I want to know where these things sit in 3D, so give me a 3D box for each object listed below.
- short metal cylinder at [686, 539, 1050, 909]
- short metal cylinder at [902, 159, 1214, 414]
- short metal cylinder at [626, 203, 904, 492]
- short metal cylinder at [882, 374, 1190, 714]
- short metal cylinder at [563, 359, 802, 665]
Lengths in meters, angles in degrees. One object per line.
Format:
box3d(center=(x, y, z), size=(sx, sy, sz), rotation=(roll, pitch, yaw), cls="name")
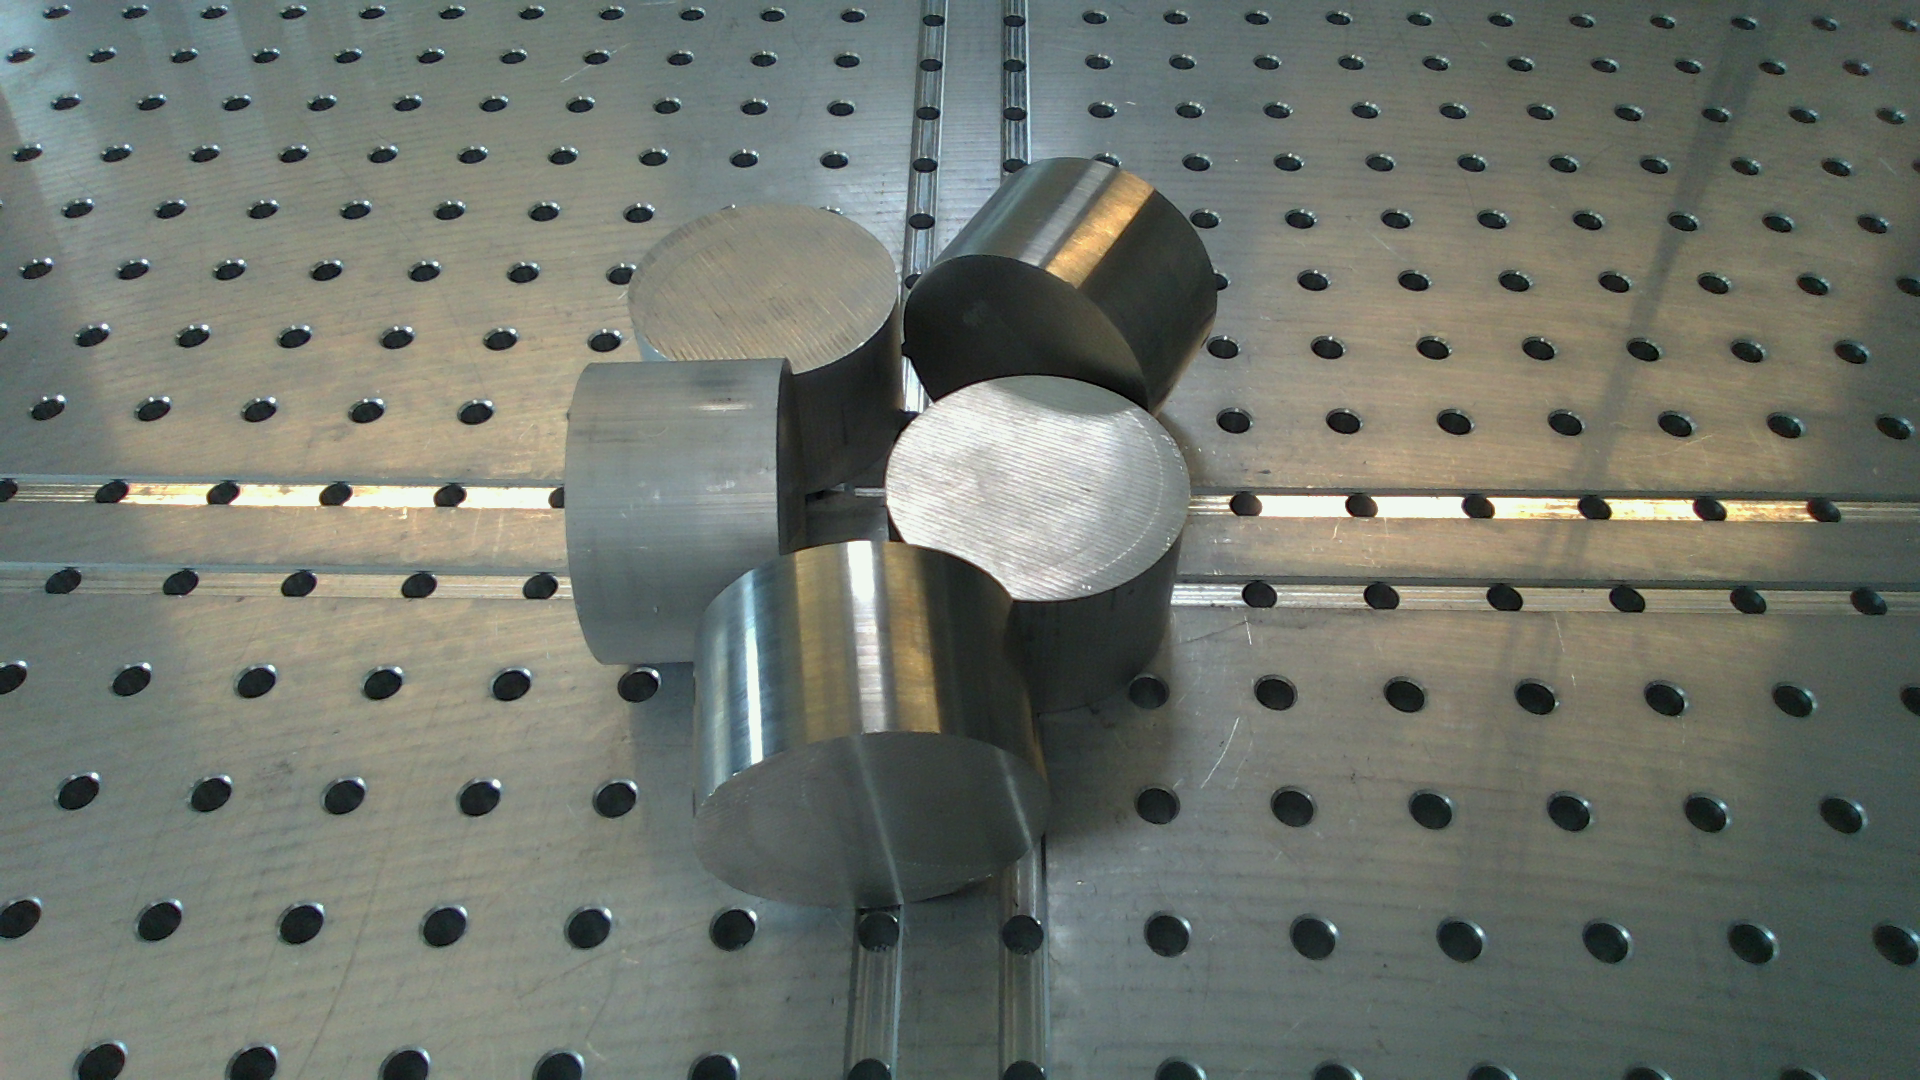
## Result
box3d(center=(-0.022, 0.045, 0.320), size=(0.080, 0.080, 0.050), rotation=(-5, 50, -4), cls="short metal cylinder")
box3d(center=(0.030, -0.066, 0.415), size=(0.080, 0.080, 0.050), rotation=(22, 53, 18), cls="short metal cylinder")
box3d(center=(-0.059, -0.060, 0.428), size=(0.080, 0.050, 0.080), rotation=(-1, 50, 1), cls="short metal cylinder")
box3d(center=(0.020, 0.000, 0.378), size=(0.080, 0.050, 0.080), rotation=(0, 50, 0), cls="short metal cylinder")
box3d(center=(-0.070, -0.007, 0.366), size=(0.050, 0.080, 0.080), rotation=(-2, 50, -2), cls="short metal cylinder")
